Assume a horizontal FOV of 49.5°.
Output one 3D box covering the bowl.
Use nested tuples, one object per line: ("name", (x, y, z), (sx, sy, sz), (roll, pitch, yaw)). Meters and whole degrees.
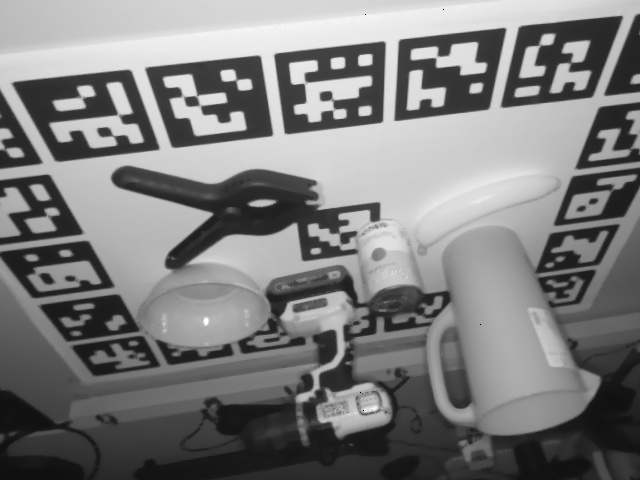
("bowl", (-0.152, 0.066, 0.846), (0.162, 0.055, 0.160), (-7, 139, -5))

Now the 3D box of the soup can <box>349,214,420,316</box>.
("soup can", (0.074, 0.029, 0.819), (0.068, 0.102, 0.067), (-7, 148, -4))

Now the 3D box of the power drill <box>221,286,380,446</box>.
("power drill", (-0.030, 0.153, 0.844), (0.185, 0.188, 0.057), (-10, 140, 1))

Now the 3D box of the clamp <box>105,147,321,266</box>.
("clamp", (-0.101, -0.044, 0.732), (0.203, 0.037, 0.164), (-9, 136, -2))

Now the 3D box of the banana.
("banana", (0.191, -0.044, 0.811), (0.195, 0.039, 0.074), (-23, 147, 17))

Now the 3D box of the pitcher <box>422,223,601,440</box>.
("pitcher", (0.206, 0.107, 0.829), (0.187, 0.244, 0.134), (-23, 142, 15))
